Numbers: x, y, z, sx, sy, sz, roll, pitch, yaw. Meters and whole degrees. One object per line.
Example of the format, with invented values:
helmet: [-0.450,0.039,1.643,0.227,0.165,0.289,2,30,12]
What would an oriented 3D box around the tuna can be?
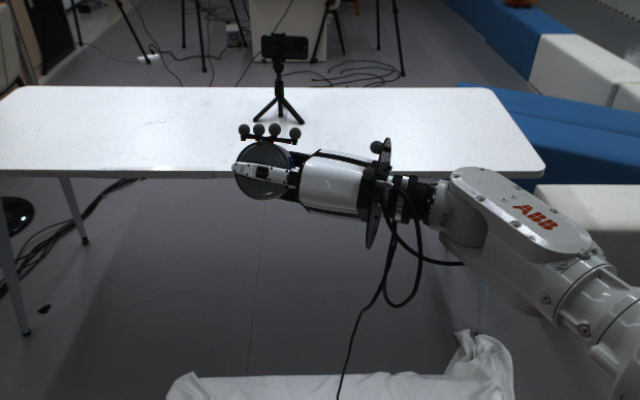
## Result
tuna can: [-0.080,-0.043,0.715,0.085,0.085,0.034,11,3,13]
